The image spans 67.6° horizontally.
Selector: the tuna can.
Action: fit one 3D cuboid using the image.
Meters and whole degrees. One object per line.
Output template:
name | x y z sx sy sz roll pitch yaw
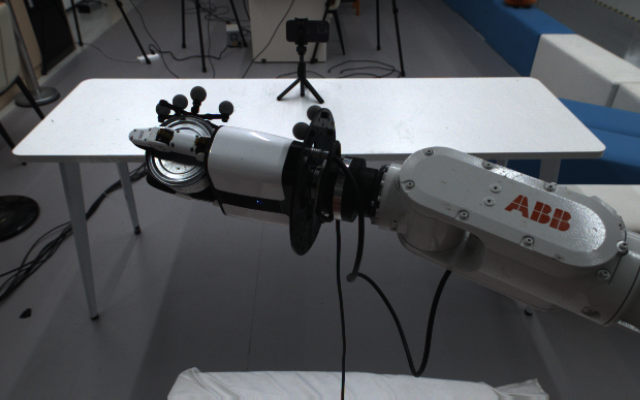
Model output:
tuna can | -0.152 -0.051 0.558 0.085 0.034 0.085 -3 73 9
